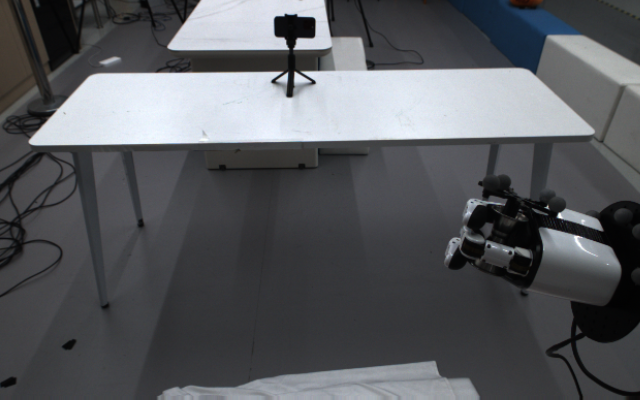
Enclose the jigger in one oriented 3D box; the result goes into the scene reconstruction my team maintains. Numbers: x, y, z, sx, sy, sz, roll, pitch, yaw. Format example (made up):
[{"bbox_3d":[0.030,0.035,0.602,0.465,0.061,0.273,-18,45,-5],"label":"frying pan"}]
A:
[{"bbox_3d":[0.201,0.044,0.544,0.043,0.071,0.043,15,17,-5],"label":"jigger"}]
